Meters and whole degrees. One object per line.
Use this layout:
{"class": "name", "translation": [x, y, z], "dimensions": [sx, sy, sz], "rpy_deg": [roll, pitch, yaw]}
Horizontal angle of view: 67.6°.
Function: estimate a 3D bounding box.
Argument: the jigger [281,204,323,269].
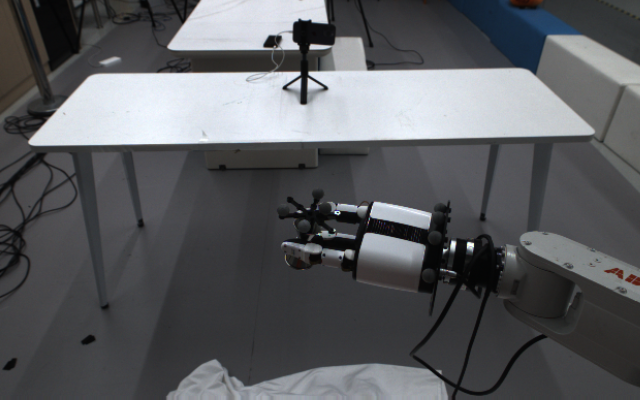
{"class": "jigger", "translation": [-0.024, 0.060, 0.691], "dimensions": [0.043, 0.071, 0.043], "rpy_deg": [10, 36, -7]}
